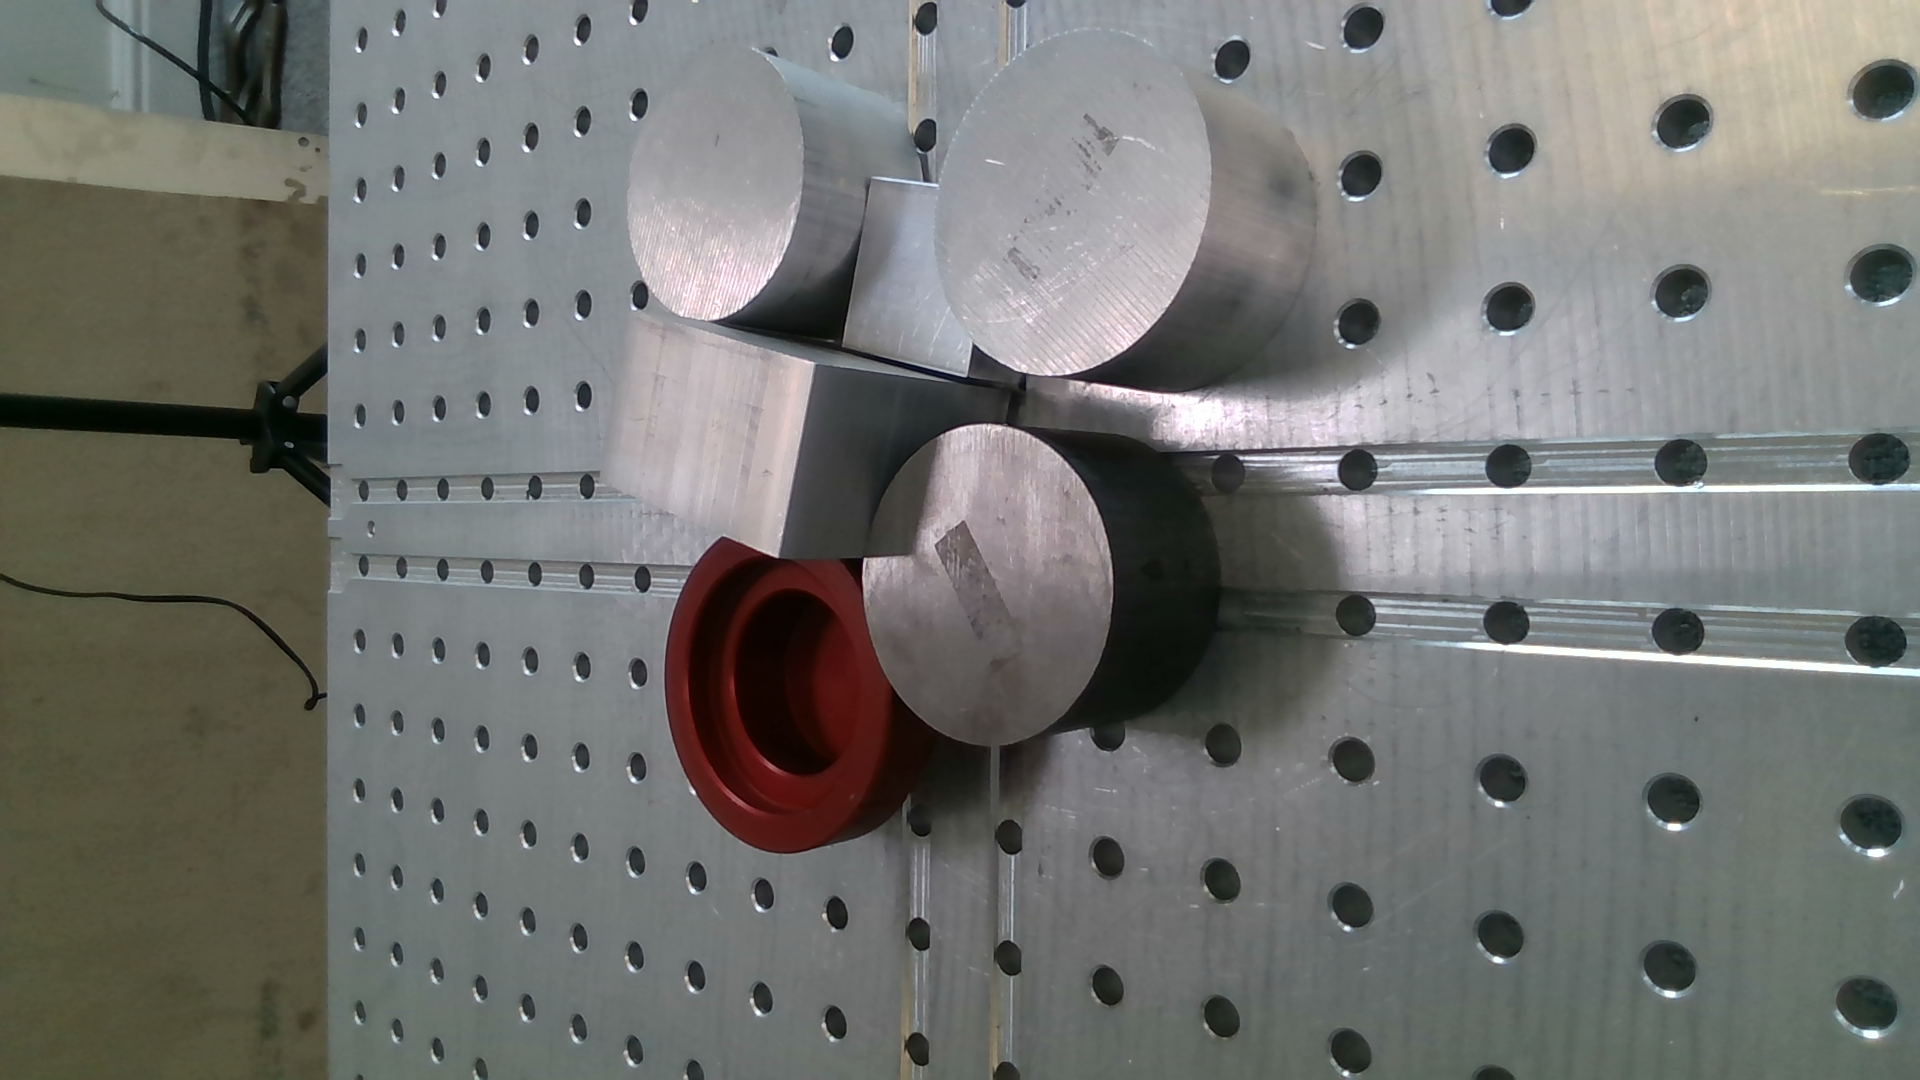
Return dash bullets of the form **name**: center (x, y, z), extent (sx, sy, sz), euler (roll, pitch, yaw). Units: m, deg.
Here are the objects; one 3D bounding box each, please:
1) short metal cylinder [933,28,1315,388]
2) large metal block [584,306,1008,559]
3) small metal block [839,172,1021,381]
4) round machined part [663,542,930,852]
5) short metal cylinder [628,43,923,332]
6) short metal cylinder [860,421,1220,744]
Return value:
- **short metal cylinder**: center (0.040, -0.079, 0.343), extent (0.080, 0.050, 0.080), euler (0, 91, 40)
- **large metal block**: center (-0.047, -0.030, 0.393), extent (0.080, 0.080, 0.050), euler (20, 103, 38)
- **small metal block**: center (-0.004, -0.076, 0.396), extent (0.050, 0.025, 0.050), euler (19, 102, 39)
- **round machined part**: center (-0.044, 0.042, 0.420), extent (0.098, 0.042, 0.098), euler (0, 91, 40)
- **short metal cylinder**: center (-0.058, -0.105, 0.425), extent (0.080, 0.050, 0.080), euler (0, 91, 40)
- **short metal cylinder**: center (0.020, 0.010, 0.360), extent (0.080, 0.050, 0.080), euler (0, 91, 40)
